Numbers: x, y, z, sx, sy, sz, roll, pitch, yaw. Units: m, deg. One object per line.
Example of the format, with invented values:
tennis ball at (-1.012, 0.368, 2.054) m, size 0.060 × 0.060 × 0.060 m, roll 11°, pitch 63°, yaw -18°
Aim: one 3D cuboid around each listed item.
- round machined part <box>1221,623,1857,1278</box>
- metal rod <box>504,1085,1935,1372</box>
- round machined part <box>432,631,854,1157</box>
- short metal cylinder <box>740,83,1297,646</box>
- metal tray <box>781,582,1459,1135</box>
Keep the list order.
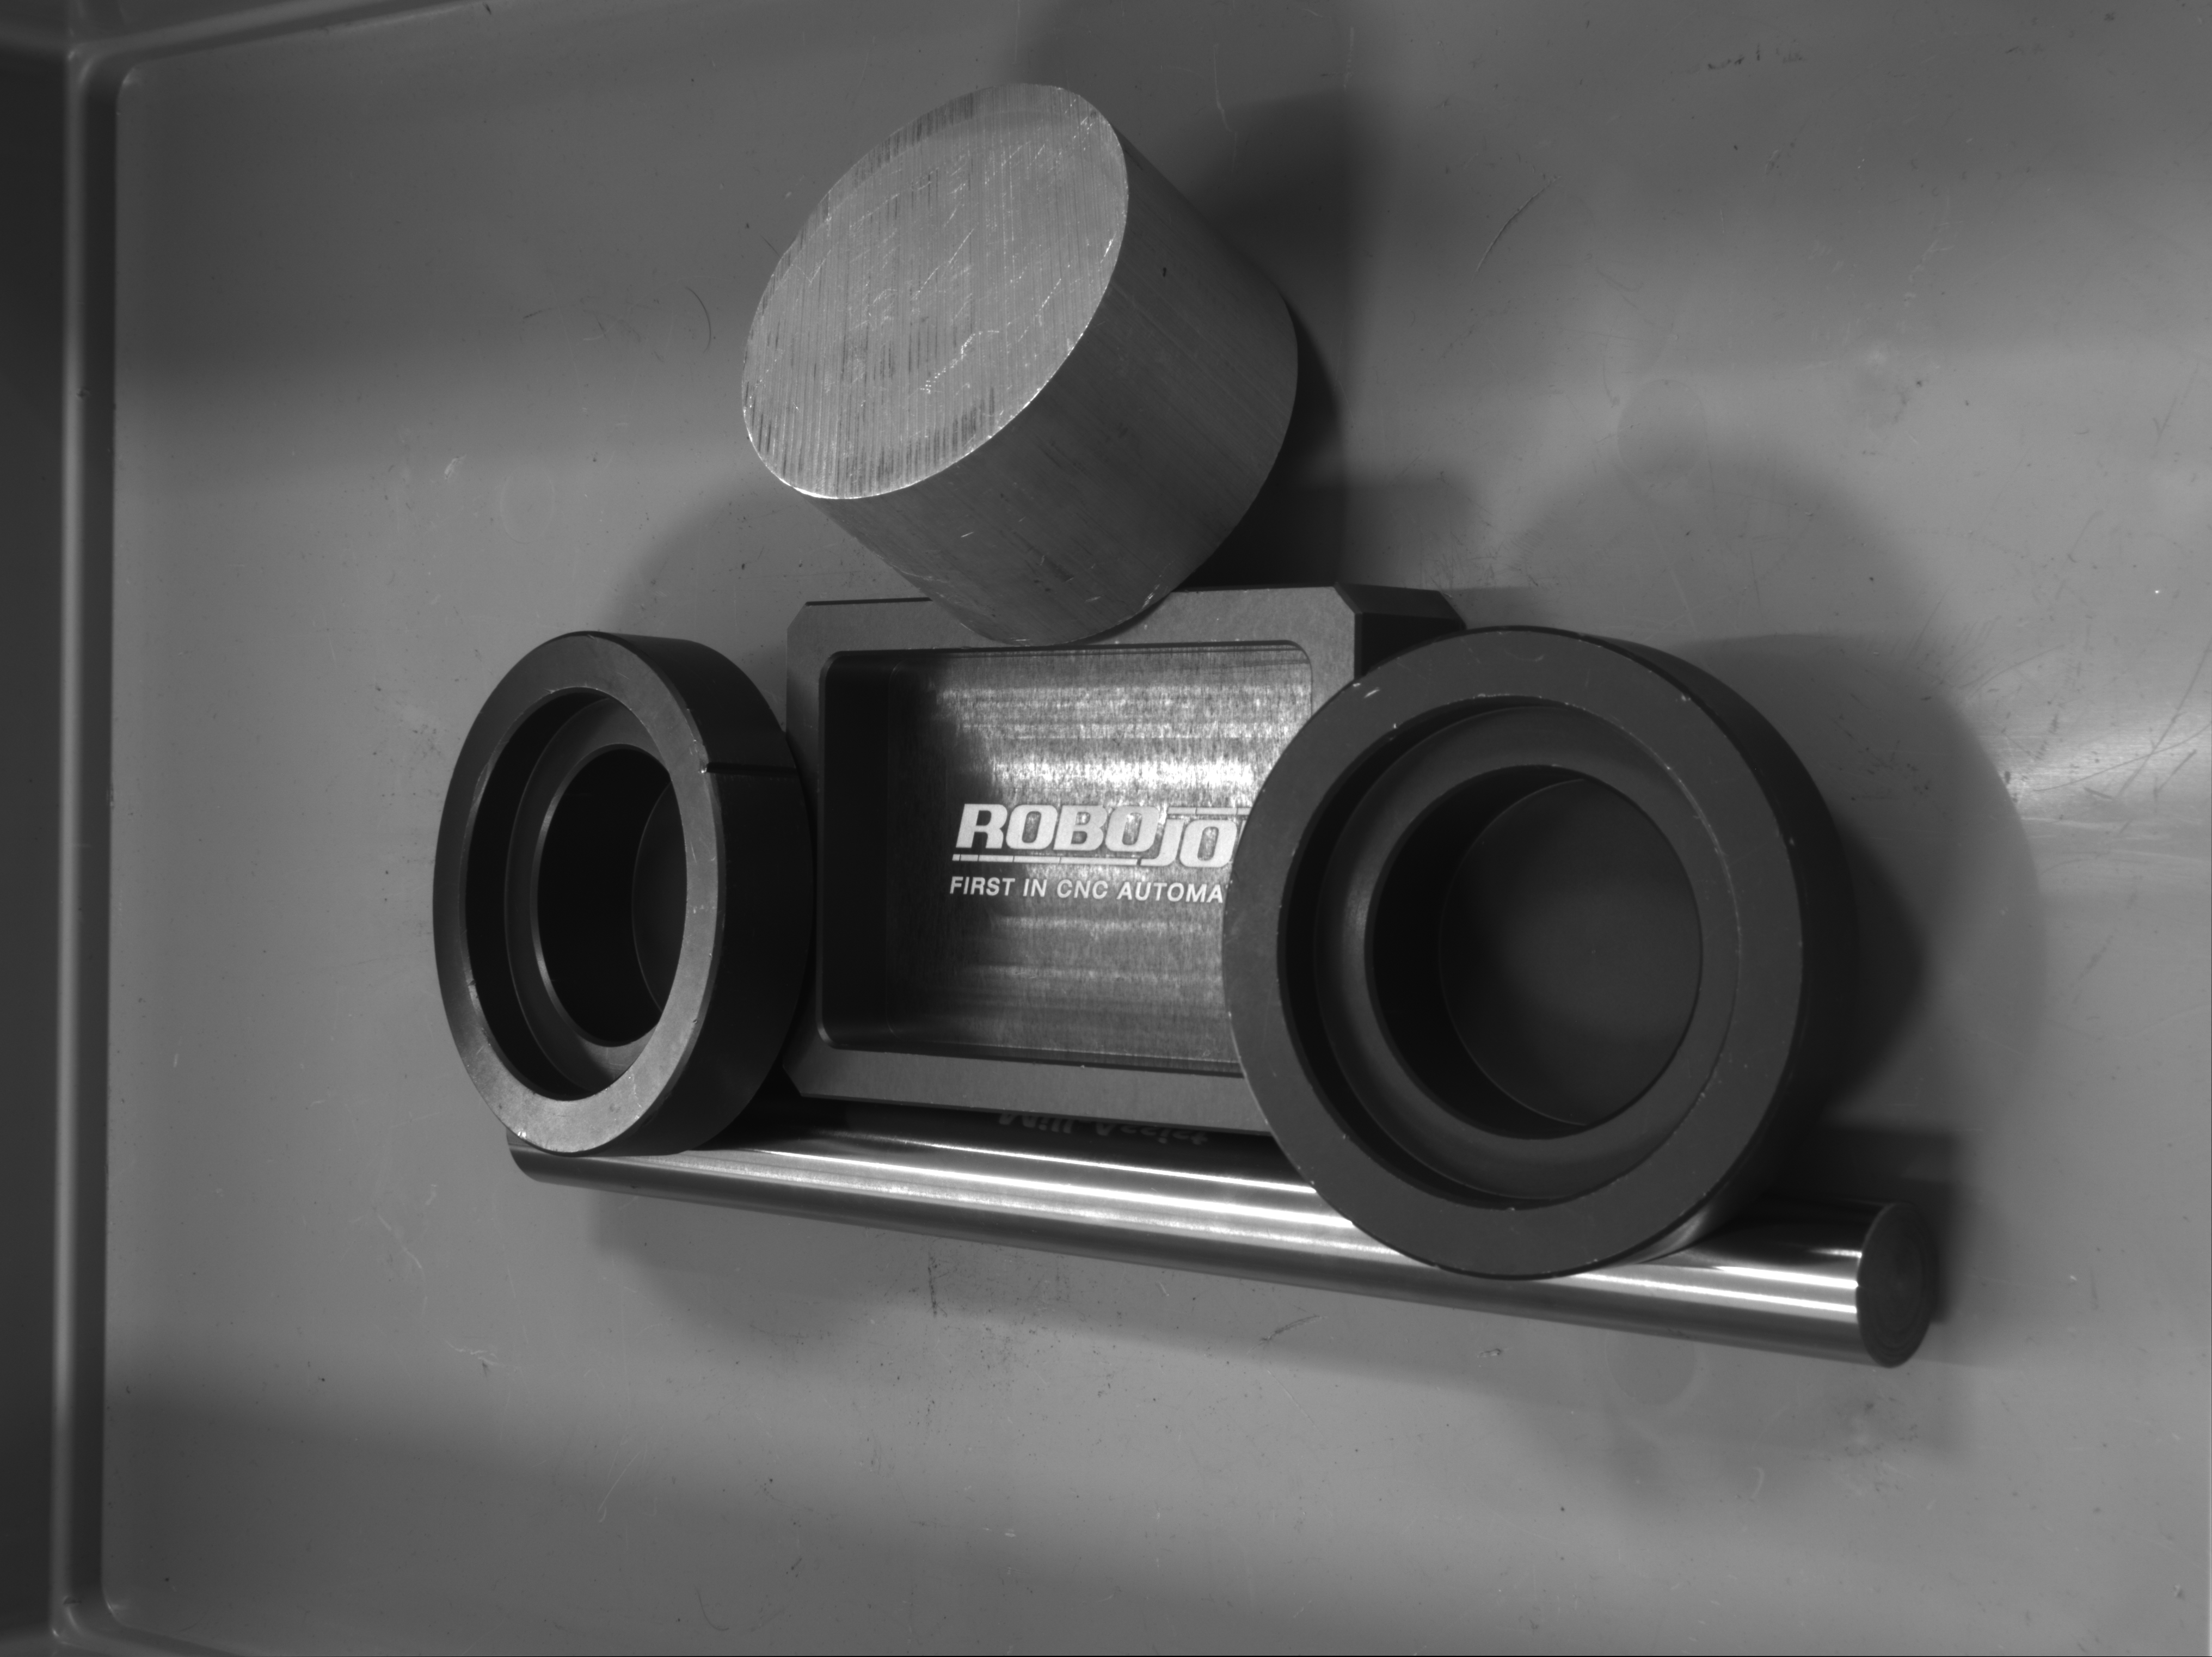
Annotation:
round machined part at (0.070, 0.019, 0.567) m, size 0.098 × 0.042 × 0.098 m, roll -1°, pitch 87°, yaw 33°
metal rod at (0.003, 0.064, 0.641) m, size 0.299 × 0.025 × 0.025 m, roll 2°, pitch 91°, yaw 40°
round machined part at (-0.085, 0.013, 0.698) m, size 0.098 × 0.042 × 0.098 m, roll -4°, pitch 84°, yaw 48°
short metal cylinder at (-0.015, -0.078, 0.621) m, size 0.080 × 0.050 × 0.080 m, roll -21°, pitch 51°, yaw 29°
metal tray at (0.000, 0.005, 0.640) m, size 0.130 × 0.030 × 0.090 m, roll 1°, pitch 91°, yaw 40°
